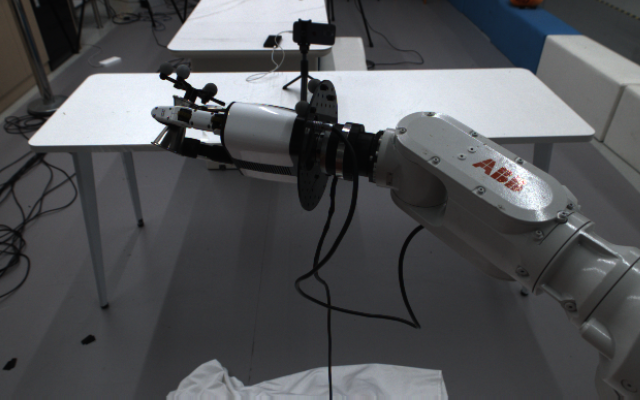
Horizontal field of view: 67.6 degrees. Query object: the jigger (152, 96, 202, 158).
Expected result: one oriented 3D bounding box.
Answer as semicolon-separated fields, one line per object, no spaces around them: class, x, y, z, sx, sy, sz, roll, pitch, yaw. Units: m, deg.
jigger;-0.186;-0.097;0.625;0.043;0.071;0.043;23;-2;1
